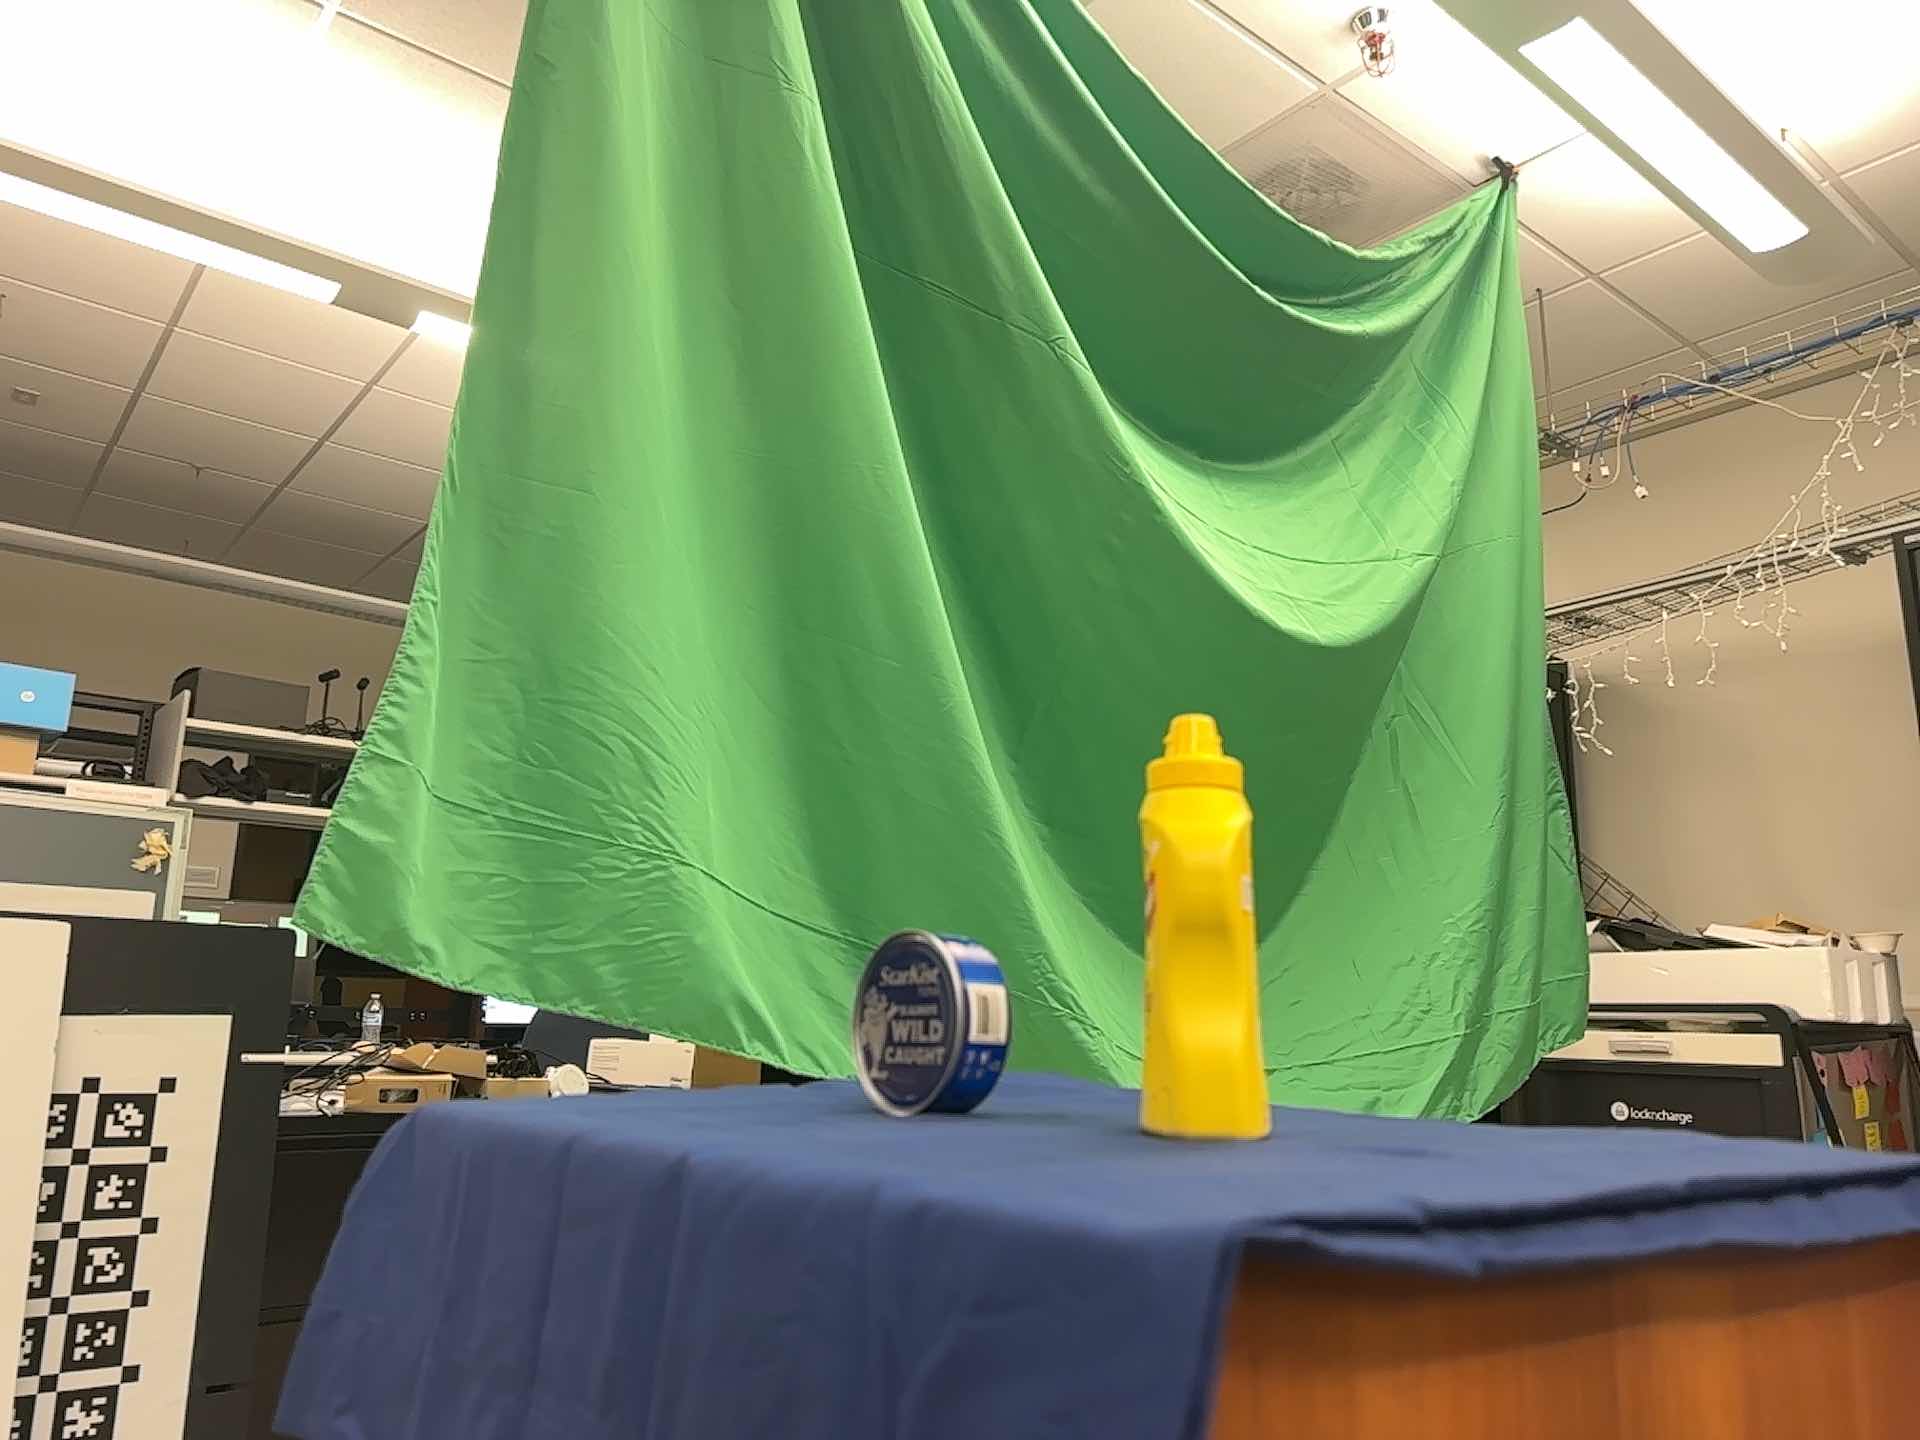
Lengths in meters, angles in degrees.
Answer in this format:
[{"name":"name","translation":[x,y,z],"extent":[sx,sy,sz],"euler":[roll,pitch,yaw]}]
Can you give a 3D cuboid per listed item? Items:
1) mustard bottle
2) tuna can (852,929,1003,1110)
[{"name":"mustard bottle","translation":[0.102,0.086,0.586],"extent":[0.054,0.184,0.092],"euler":[0,-12,12]},{"name":"tuna can","translation":[-0.016,0.145,0.651],"extent":[0.034,0.083,0.083],"euler":[11,-15,-34]}]
